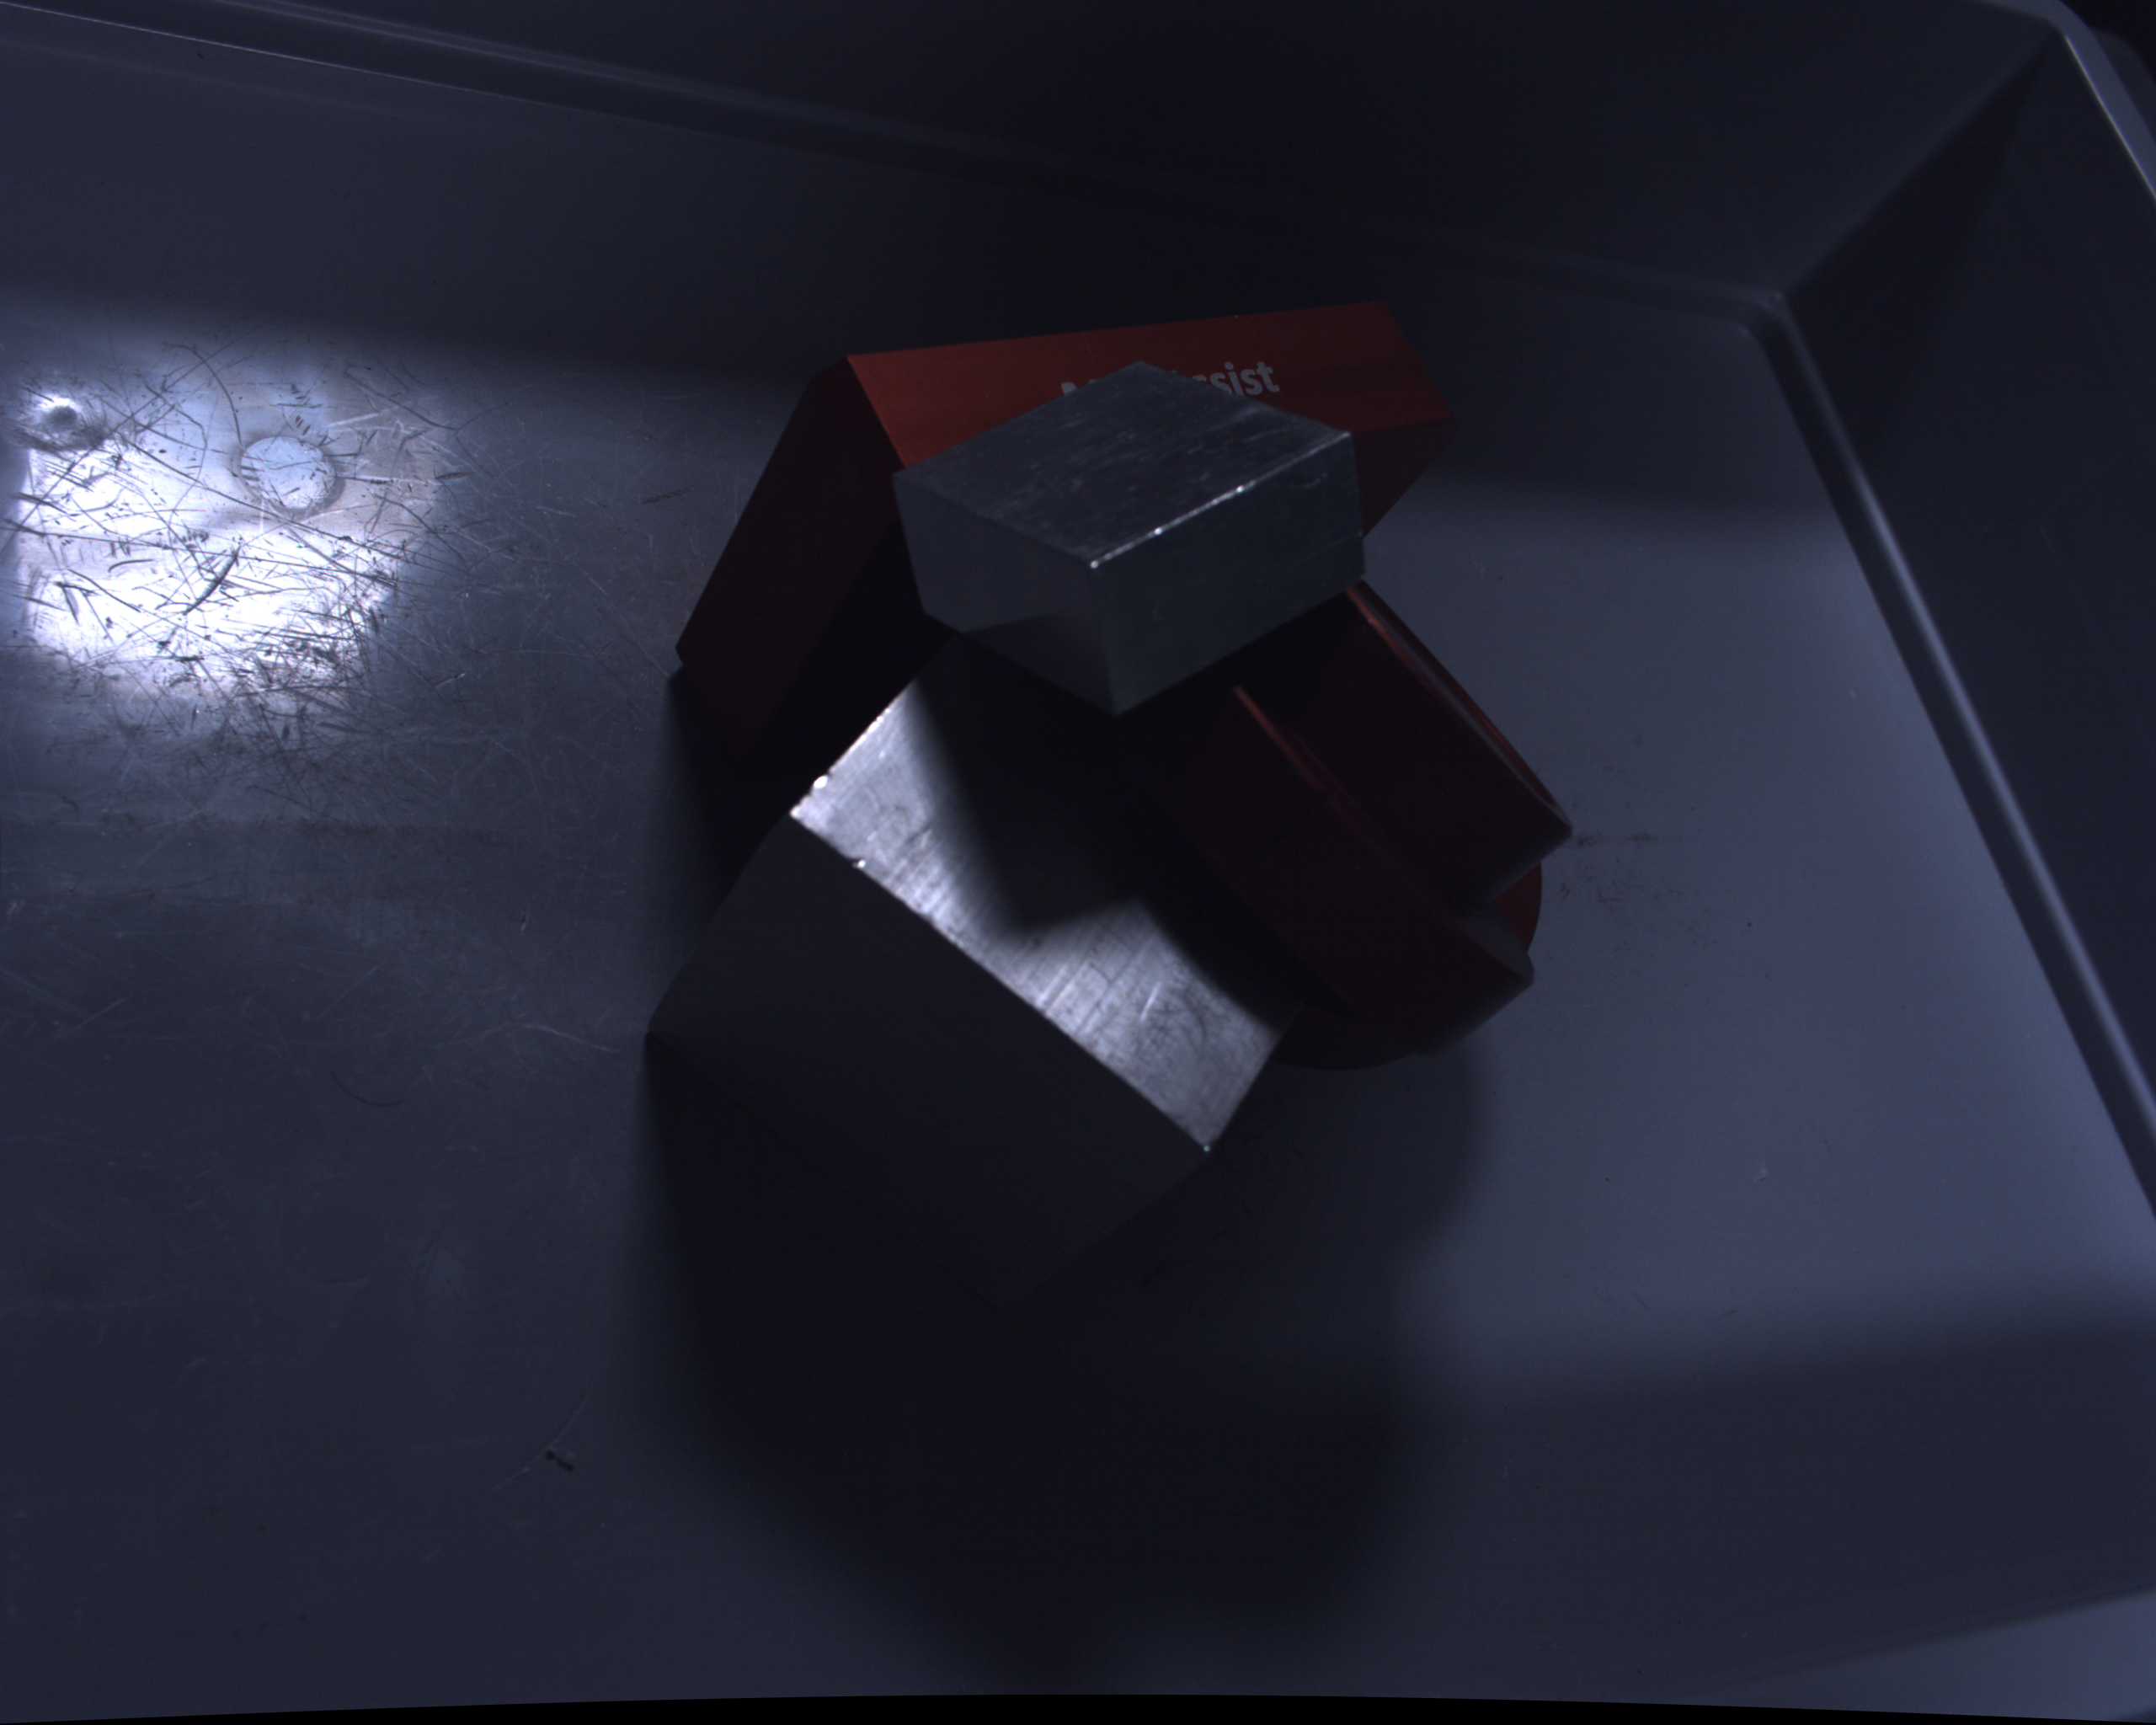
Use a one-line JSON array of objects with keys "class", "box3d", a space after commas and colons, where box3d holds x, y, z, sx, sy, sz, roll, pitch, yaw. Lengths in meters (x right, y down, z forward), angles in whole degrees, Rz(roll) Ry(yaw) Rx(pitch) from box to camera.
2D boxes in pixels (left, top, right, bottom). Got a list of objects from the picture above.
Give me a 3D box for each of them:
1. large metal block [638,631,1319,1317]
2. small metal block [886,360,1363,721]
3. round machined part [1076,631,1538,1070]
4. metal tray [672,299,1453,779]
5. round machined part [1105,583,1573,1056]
[{"class": "large metal block", "box3d": [-0.016, 0.021, 0.349, 0.080, 0.080, 0.050, 39, 51, -2]}, {"class": "small metal block", "box3d": [0.007, -0.052, 0.322, 0.050, 0.025, 0.050, -31, 40, -25]}, {"class": "round machined part", "box3d": [0.039, -0.003, 0.419, 0.099, 0.042, 0.098, 14, 56, -21]}, {"class": "metal tray", "box3d": [-0.002, -0.062, 0.400, 0.131, 0.090, 0.030, -16, 71, -35]}, {"class": "round machined part", "box3d": [0.046, -0.018, 0.356, 0.098, 0.042, 0.098, 46, 13, -13]}]
